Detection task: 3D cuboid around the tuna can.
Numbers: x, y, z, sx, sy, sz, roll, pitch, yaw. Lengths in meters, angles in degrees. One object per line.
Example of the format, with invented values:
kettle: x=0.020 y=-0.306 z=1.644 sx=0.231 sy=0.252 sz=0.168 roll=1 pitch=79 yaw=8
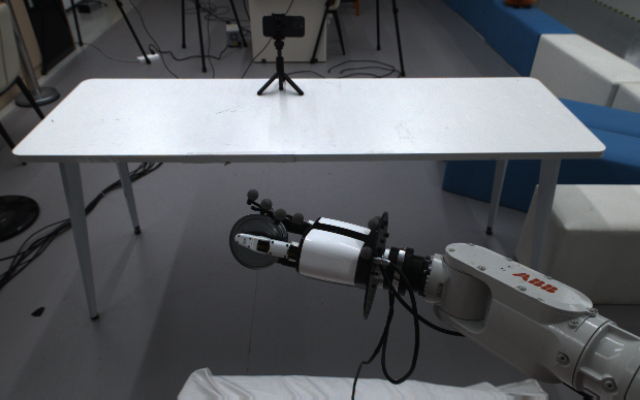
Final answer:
tuna can: x=-0.092 y=0.063 z=0.743 sx=0.085 sy=0.085 sz=0.034 roll=10 pitch=4 yaw=11
